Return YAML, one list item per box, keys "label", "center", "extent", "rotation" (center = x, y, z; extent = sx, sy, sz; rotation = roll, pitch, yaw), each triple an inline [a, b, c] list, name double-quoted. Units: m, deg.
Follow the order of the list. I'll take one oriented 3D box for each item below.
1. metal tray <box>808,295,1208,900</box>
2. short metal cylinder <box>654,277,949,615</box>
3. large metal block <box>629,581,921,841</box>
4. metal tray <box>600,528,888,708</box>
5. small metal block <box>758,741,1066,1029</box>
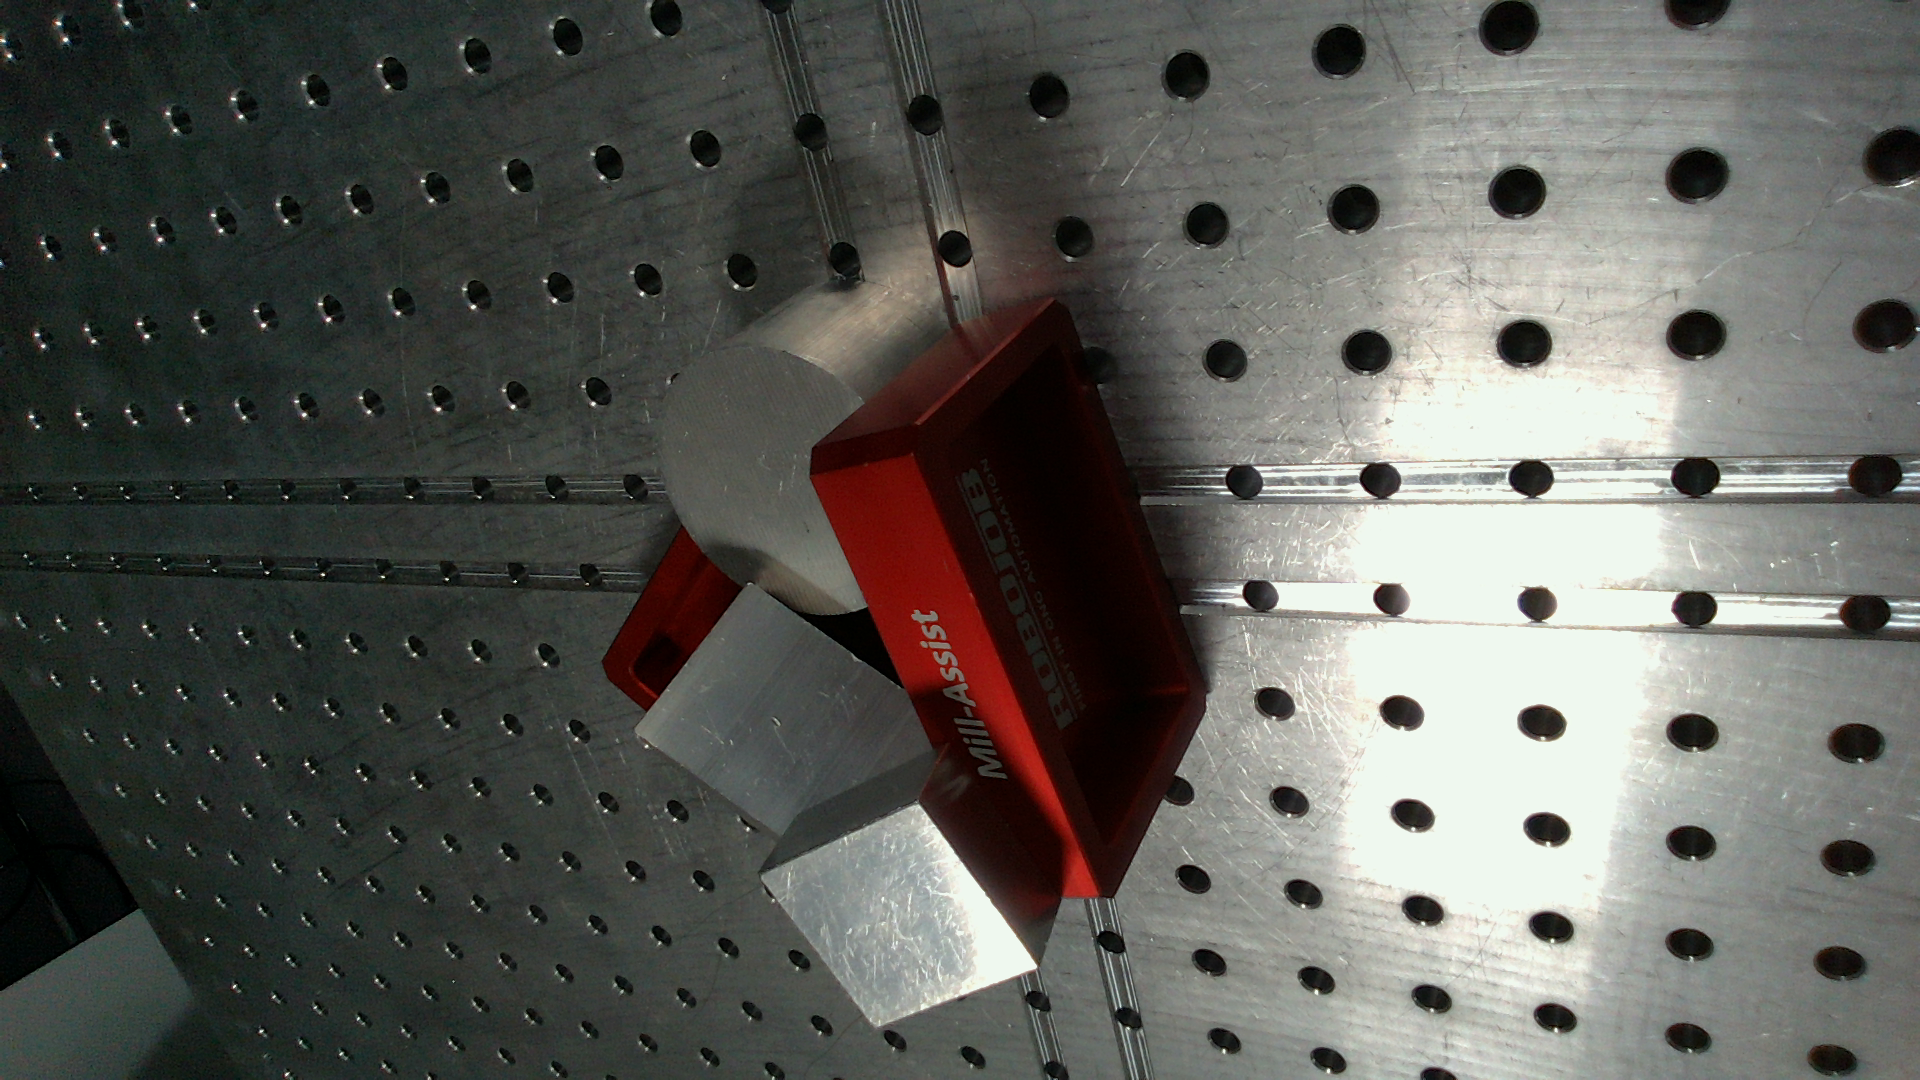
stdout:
- label: "metal tray"
  center: [0.019, 0.014, 0.353]
  extent: [0.030, 0.090, 0.130]
  rotation: [-10, 114, 32]
- label: "short metal cylinder"
  center: [-0.037, -0.026, 0.383]
  extent: [0.080, 0.050, 0.080]
  rotation: [13, 124, 21]
- label: "large metal block"
  center: [-0.042, 0.064, 0.402]
  extent: [0.080, 0.050, 0.080]
  rotation: [34, 165, 5]
- label: "metal tray"
  center: [-0.046, 0.052, 0.448]
  extent: [0.130, 0.030, 0.090]
  rotation: [40, 129, 1]
- label: "small metal block"
  center: [-0.011, 0.084, 0.332]
  extent: [0.050, 0.025, 0.050]
  rotation: [-29, 103, 26]
